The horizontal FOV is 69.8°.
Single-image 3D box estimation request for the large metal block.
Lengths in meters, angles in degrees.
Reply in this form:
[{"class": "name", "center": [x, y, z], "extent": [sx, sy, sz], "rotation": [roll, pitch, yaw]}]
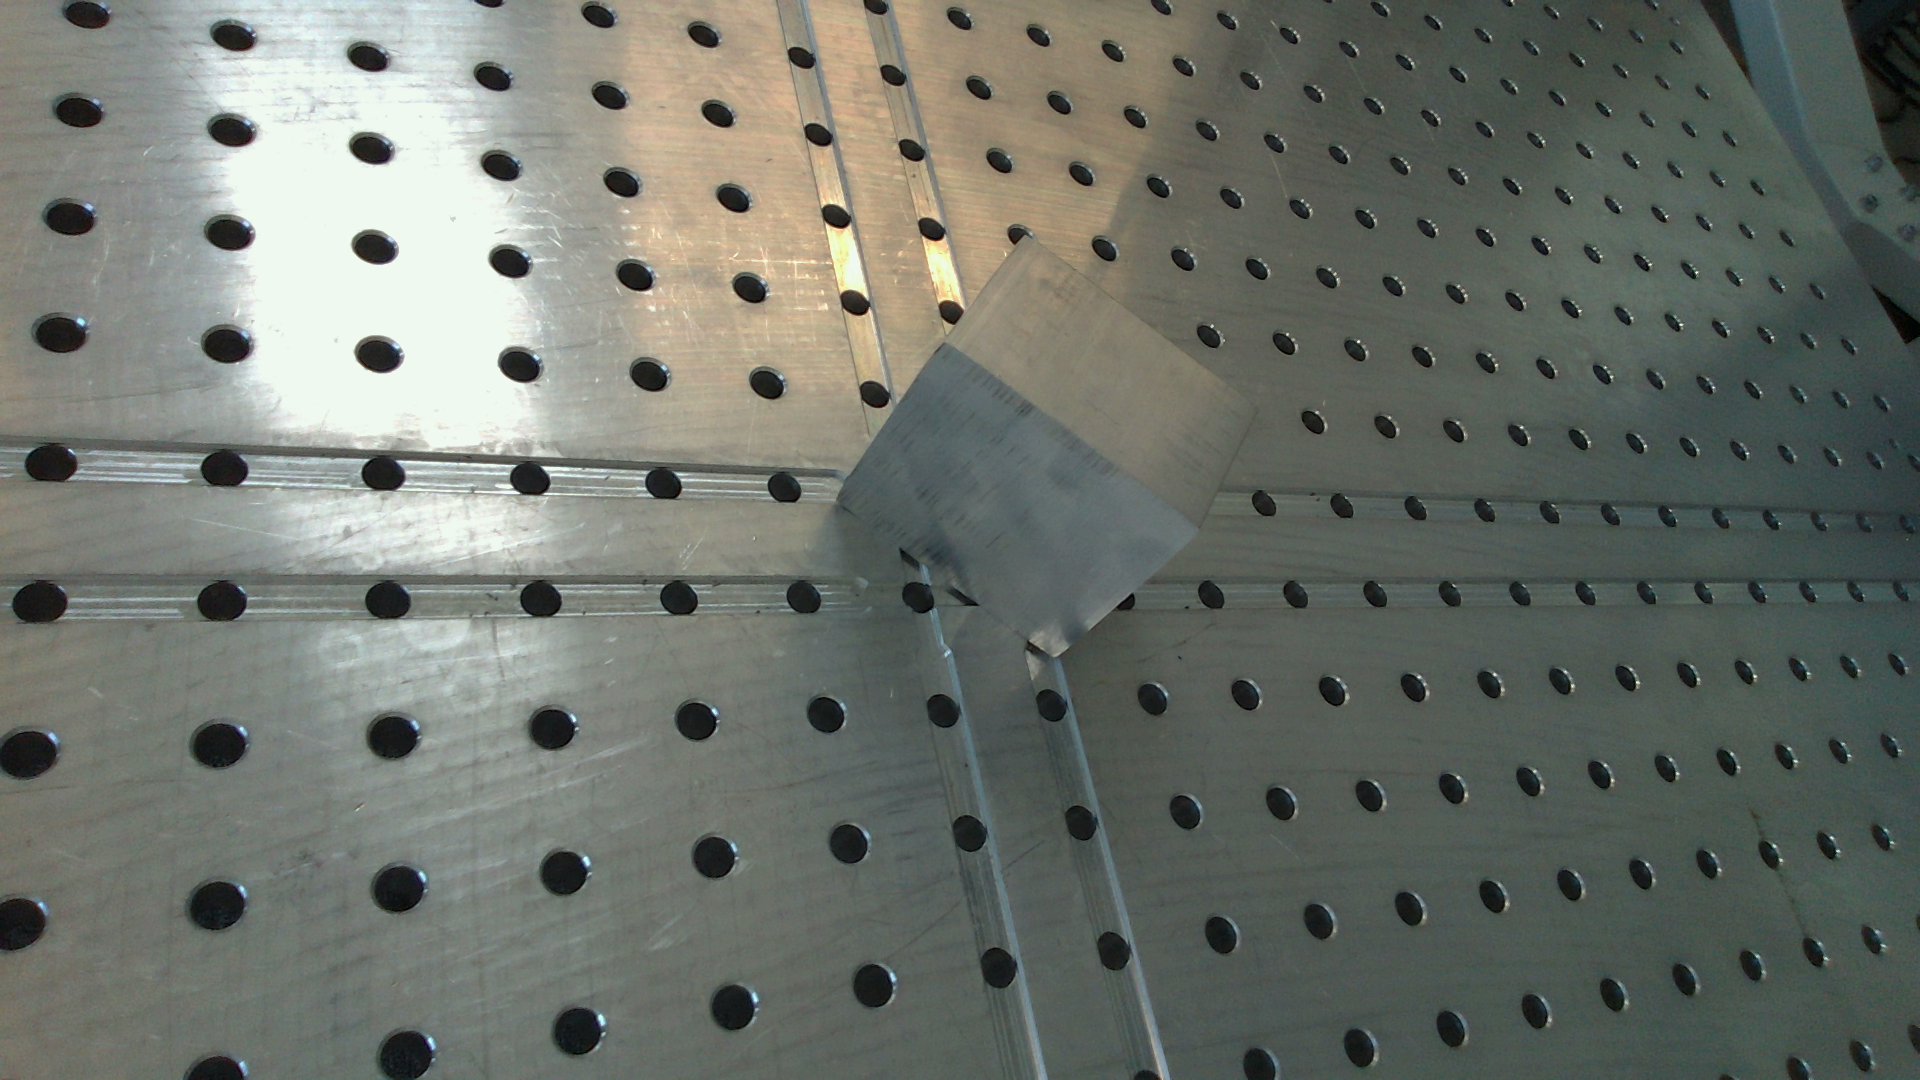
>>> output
[{"class": "large metal block", "center": [0.022, -0.024, 0.383], "extent": [0.080, 0.080, 0.050], "rotation": [36, 51, -5]}]
